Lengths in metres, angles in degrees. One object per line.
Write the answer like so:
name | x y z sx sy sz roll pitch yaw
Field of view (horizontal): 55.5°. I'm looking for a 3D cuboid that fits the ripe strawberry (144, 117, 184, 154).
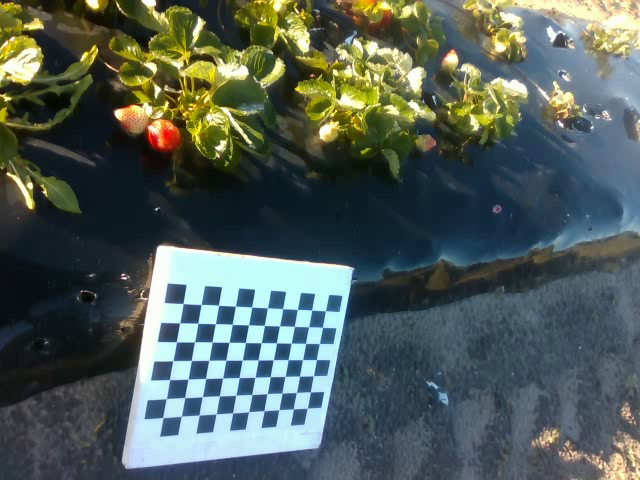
ripe strawberry | -0.172 -0.113 0.660 0.040 0.037 0.055 -7 16 -5
